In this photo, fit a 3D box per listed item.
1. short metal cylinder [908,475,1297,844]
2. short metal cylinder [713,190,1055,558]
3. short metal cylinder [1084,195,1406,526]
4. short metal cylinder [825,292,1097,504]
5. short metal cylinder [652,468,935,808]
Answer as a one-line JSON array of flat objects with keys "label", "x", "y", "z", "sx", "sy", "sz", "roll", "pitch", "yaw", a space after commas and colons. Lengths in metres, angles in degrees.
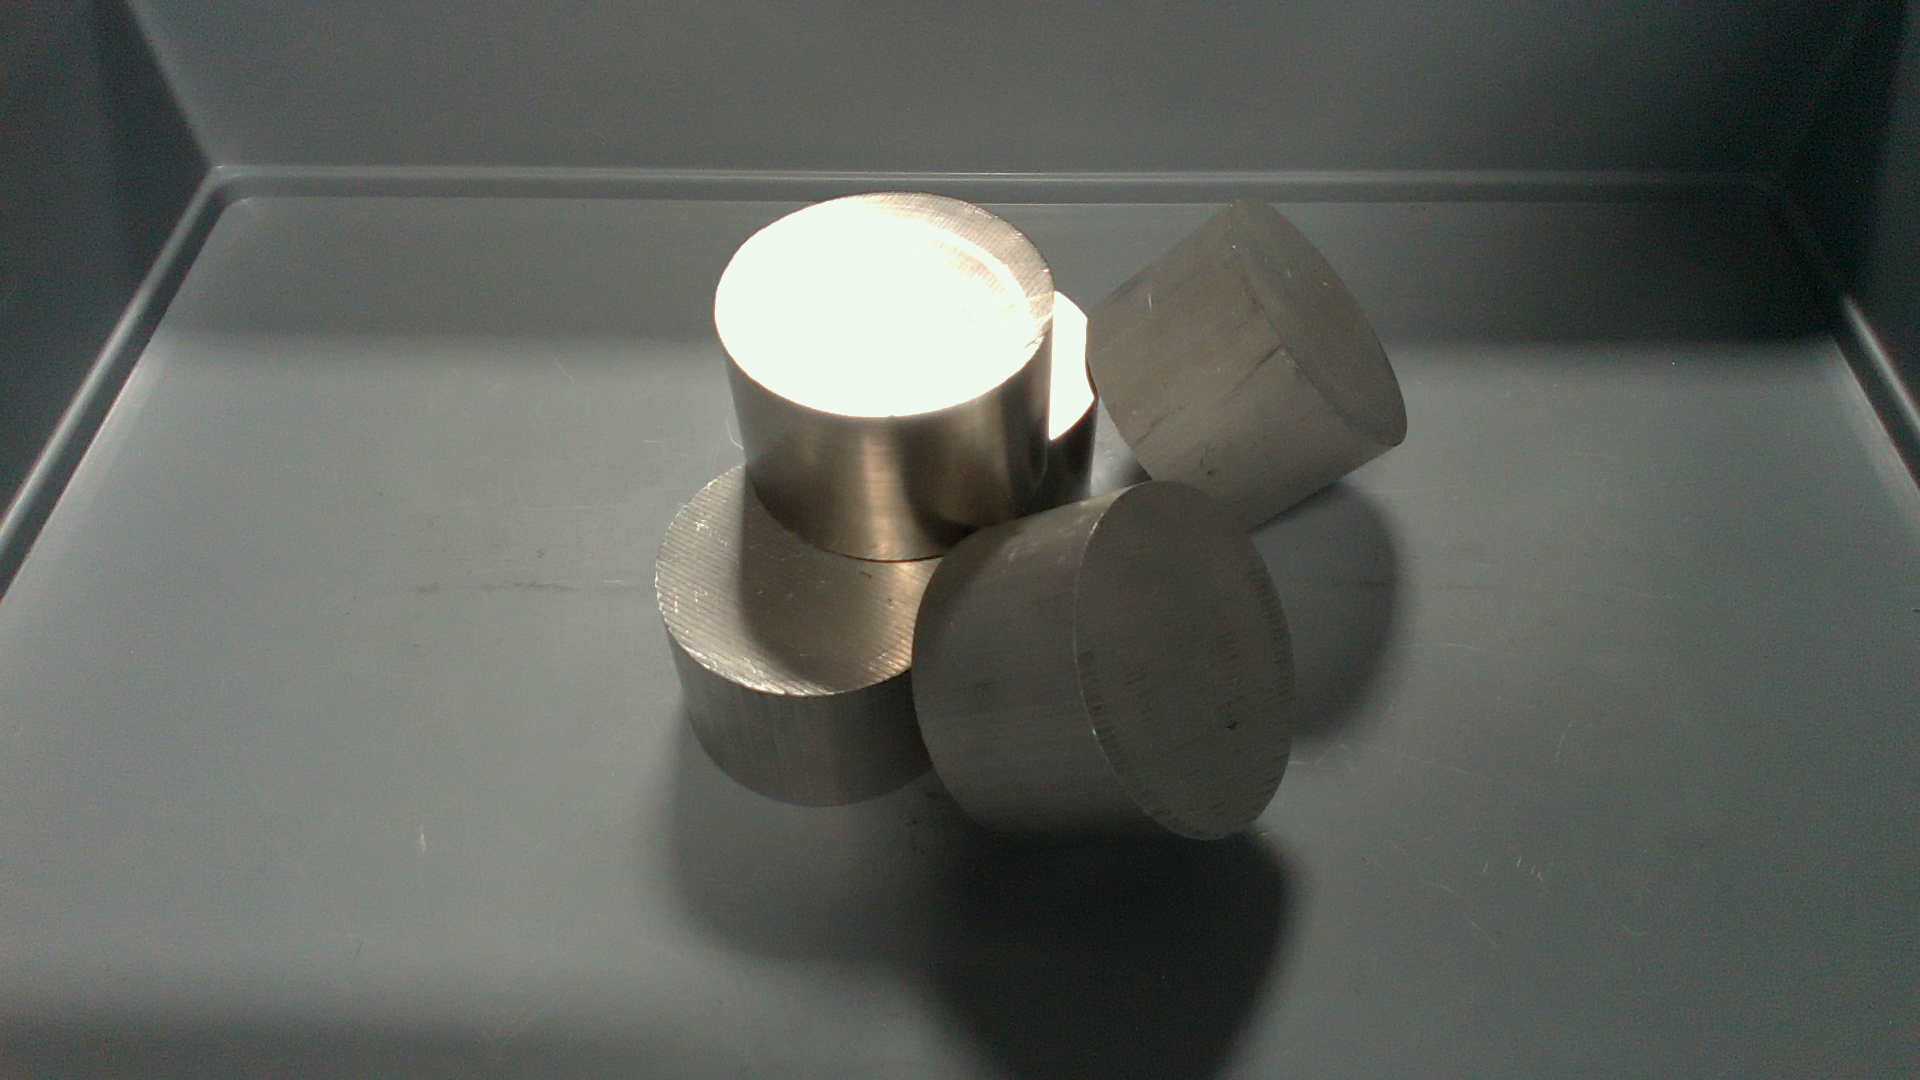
[{"label": "short metal cylinder", "x": 0.035, "y": 0.029, "z": 0.320, "sx": 0.050, "sy": 0.080, "sz": 0.080, "roll": -15, "pitch": 35, "yaw": 44}, {"label": "short metal cylinder", "x": -0.018, "y": -0.042, "z": 0.342, "sx": 0.080, "sy": 0.050, "sz": 0.080, "roll": 0, "pitch": 50, "yaw": 0}, {"label": "short metal cylinder", "x": 0.081, "y": -0.049, "z": 0.388, "sx": 0.080, "sy": 0.050, "sz": 0.080, "roll": 33, "pitch": 39, "yaw": -31}, {"label": "short metal cylinder", "x": 0.000, "y": -0.035, "z": 0.403, "sx": 0.080, "sy": 0.050, "sz": 0.080, "roll": 0, "pitch": 50, "yaw": 0}, {"label": "short metal cylinder", "x": -0.035, "y": 0.022, "z": 0.356, "sx": 0.080, "sy": 0.050, "sz": 0.080, "roll": 0, "pitch": 50, "yaw": 0}]
